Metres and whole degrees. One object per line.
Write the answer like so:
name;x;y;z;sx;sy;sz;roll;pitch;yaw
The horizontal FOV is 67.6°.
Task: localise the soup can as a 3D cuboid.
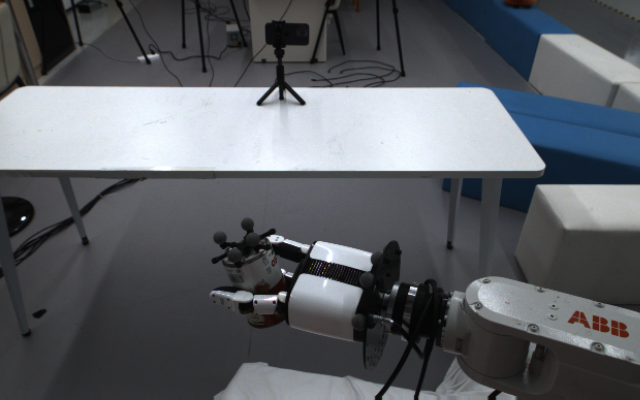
soup can;-0.078;0.108;0.635;0.067;0.101;0.067;-16;22;7
